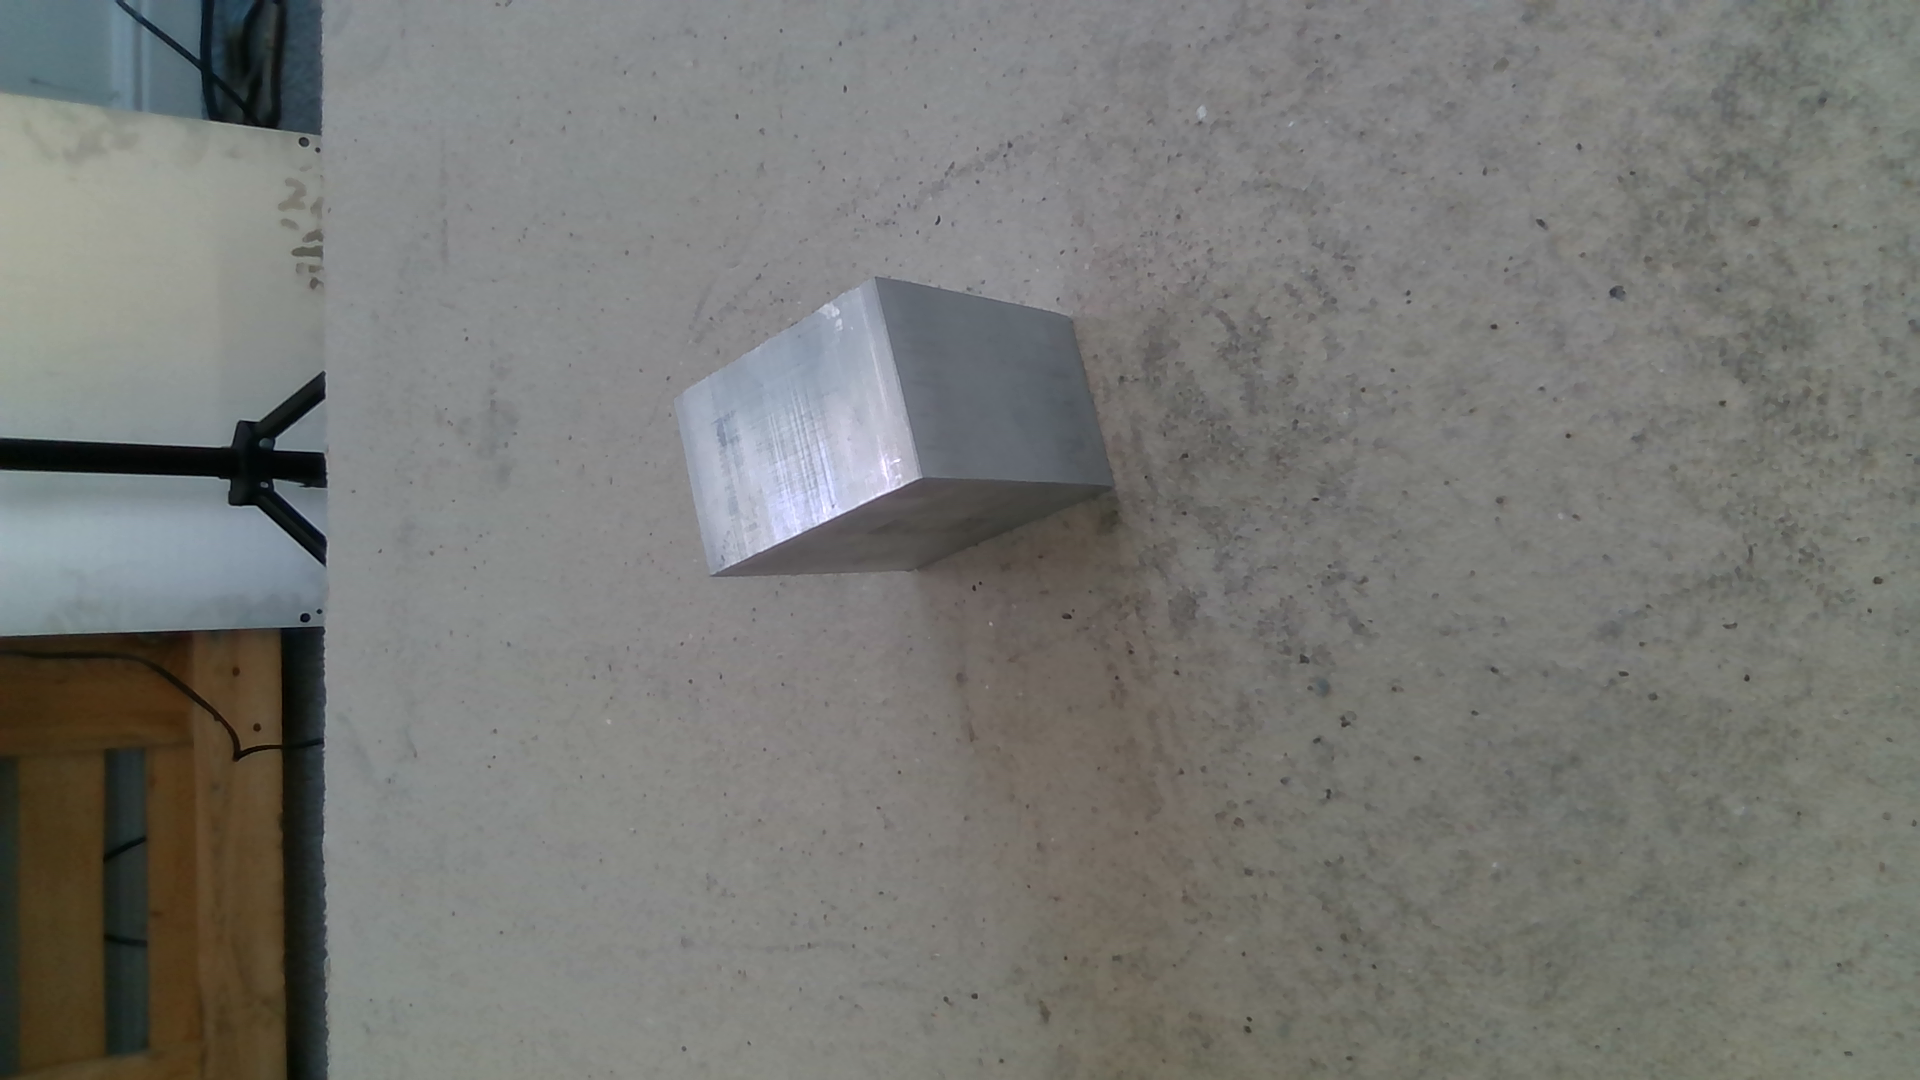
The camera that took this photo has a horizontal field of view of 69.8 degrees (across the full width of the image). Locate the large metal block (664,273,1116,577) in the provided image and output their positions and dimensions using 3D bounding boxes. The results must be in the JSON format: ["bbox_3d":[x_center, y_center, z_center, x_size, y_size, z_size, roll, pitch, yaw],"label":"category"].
[{"bbox_3d":[-0.019,-0.026,0.369,0.080,0.080,0.050,-22,76,38],"label":"large metal block"}]
